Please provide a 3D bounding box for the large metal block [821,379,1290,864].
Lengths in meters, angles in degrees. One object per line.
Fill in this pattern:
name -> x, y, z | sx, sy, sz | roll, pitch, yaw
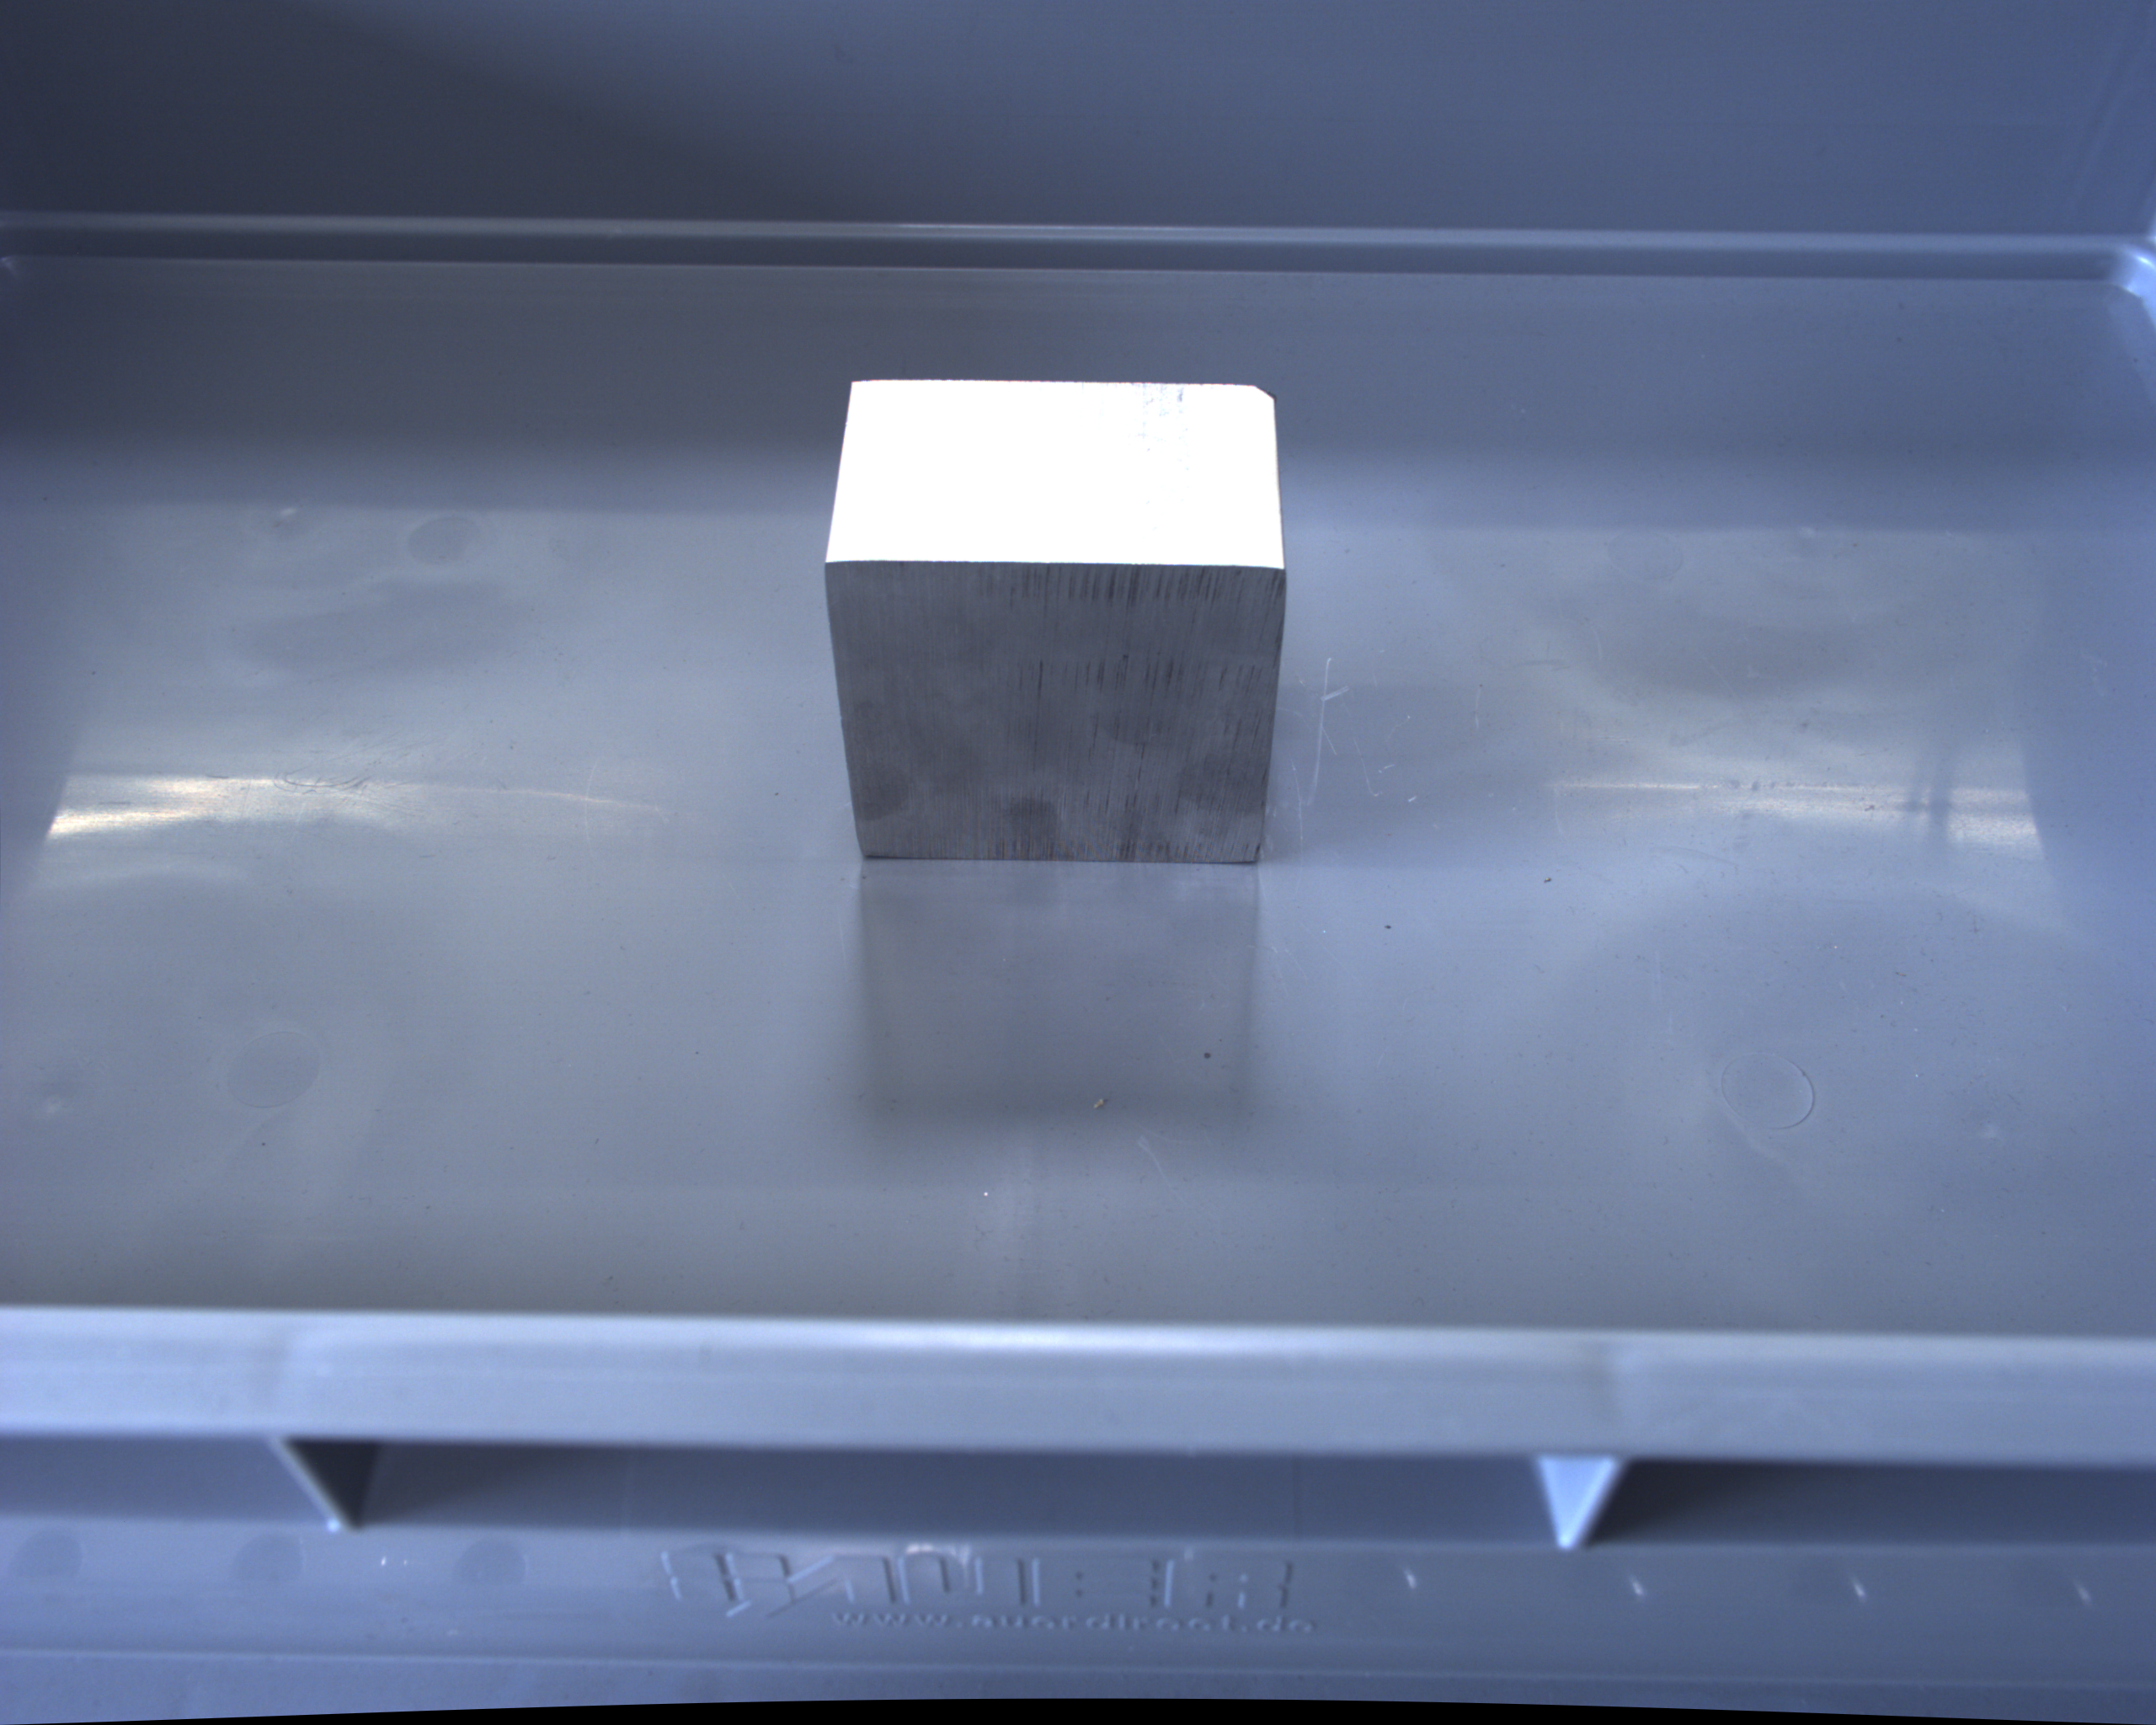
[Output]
large metal block -> -0.003, -0.045, 0.405 | 0.080, 0.080, 0.050 | 1, 50, 0
